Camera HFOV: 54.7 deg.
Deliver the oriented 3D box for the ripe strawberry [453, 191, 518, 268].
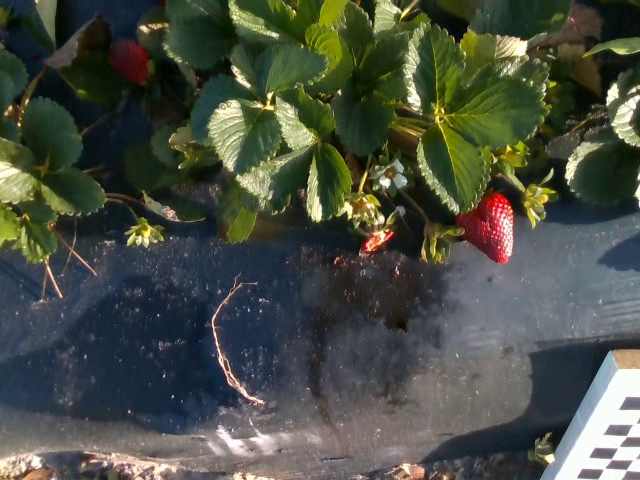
[{"bbox_3d":[0.133,-0.003,0.471,0.052,0.052,0.041,-24,-20,21],"label":"ripe strawberry"}]
